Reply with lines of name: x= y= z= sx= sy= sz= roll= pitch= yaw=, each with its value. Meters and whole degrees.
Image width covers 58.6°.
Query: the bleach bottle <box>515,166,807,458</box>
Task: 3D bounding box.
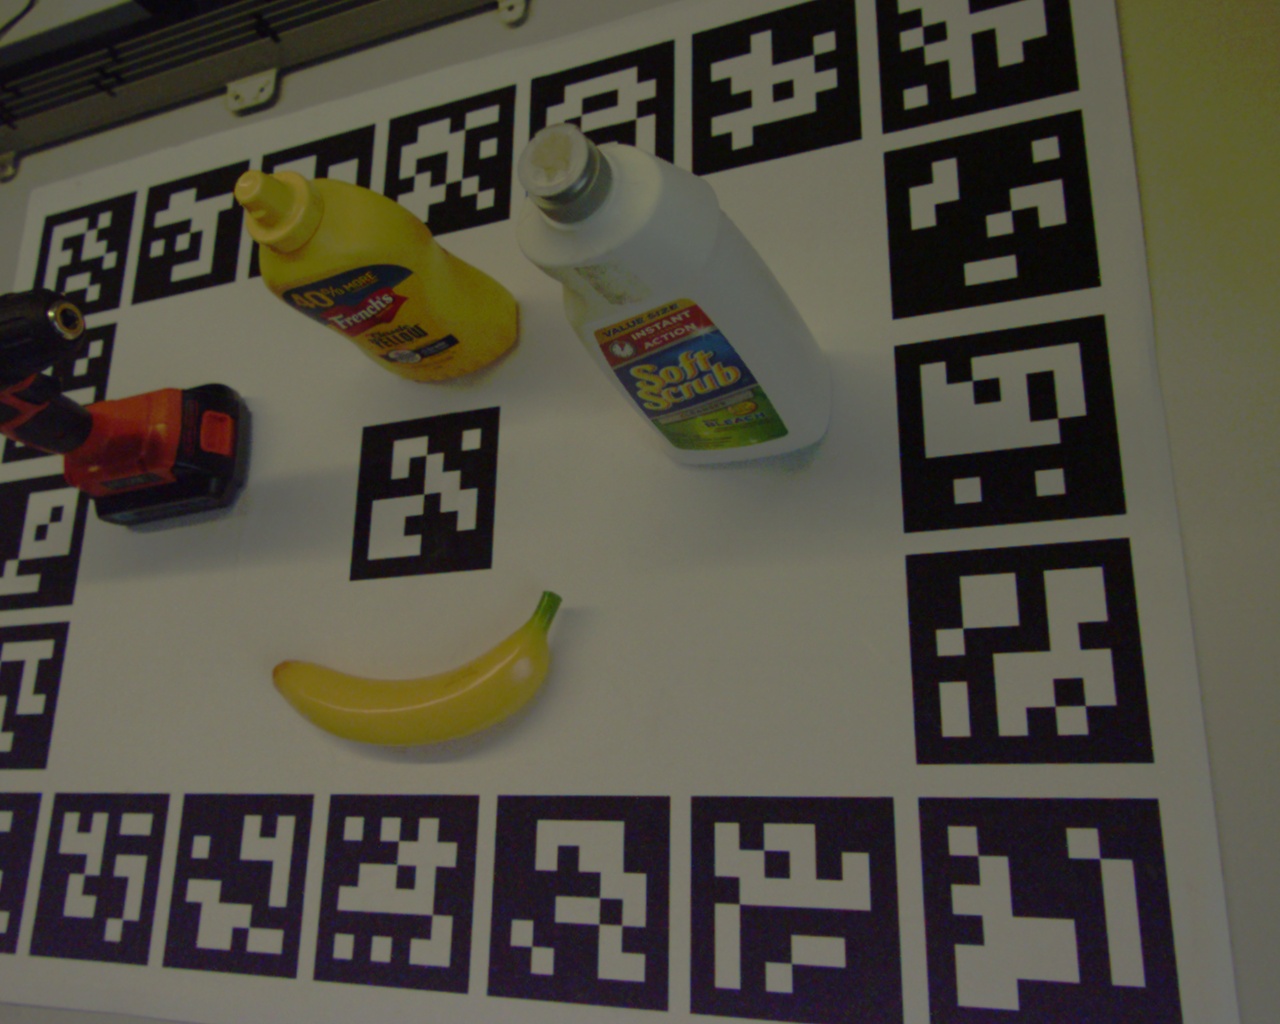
bleach bottle: x=0.004 y=-0.091 z=0.552 sx=0.104 sy=0.248 sz=0.068 roll=3 pitch=77 yaw=24

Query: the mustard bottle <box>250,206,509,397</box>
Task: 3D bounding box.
mustard bottle: x=-0.160 y=-0.127 z=0.673 sx=0.097 sy=0.189 sz=0.058 roll=-14 pitch=71 yaw=18

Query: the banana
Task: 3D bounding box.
banana: x=-0.138 y=0.095 z=0.675 sx=0.199 sy=0.038 sz=0.074 roll=-12 pitch=73 yaw=24

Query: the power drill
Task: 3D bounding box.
power drill: x=-0.347 y=-0.070 z=0.708 sx=0.186 sy=0.184 sz=0.057 roll=-13 pitch=71 yaw=25
